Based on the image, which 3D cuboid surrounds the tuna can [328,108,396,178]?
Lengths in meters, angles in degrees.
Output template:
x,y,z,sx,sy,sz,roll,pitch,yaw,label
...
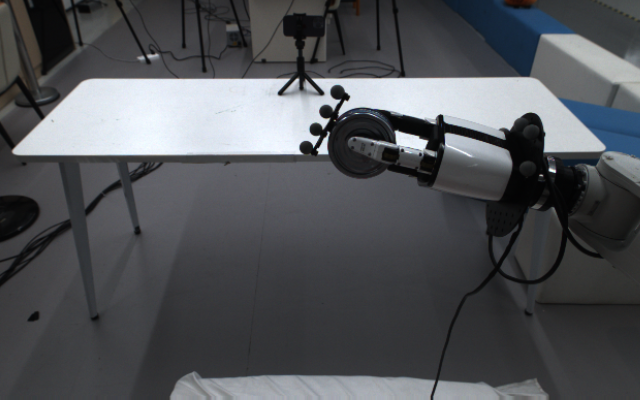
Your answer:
x,y,z,sx,sy,sz,roll,pitch,yaw,label
0.055,-0.074,0.611,0.085,0.085,0.034,3,20,1,tuna can
